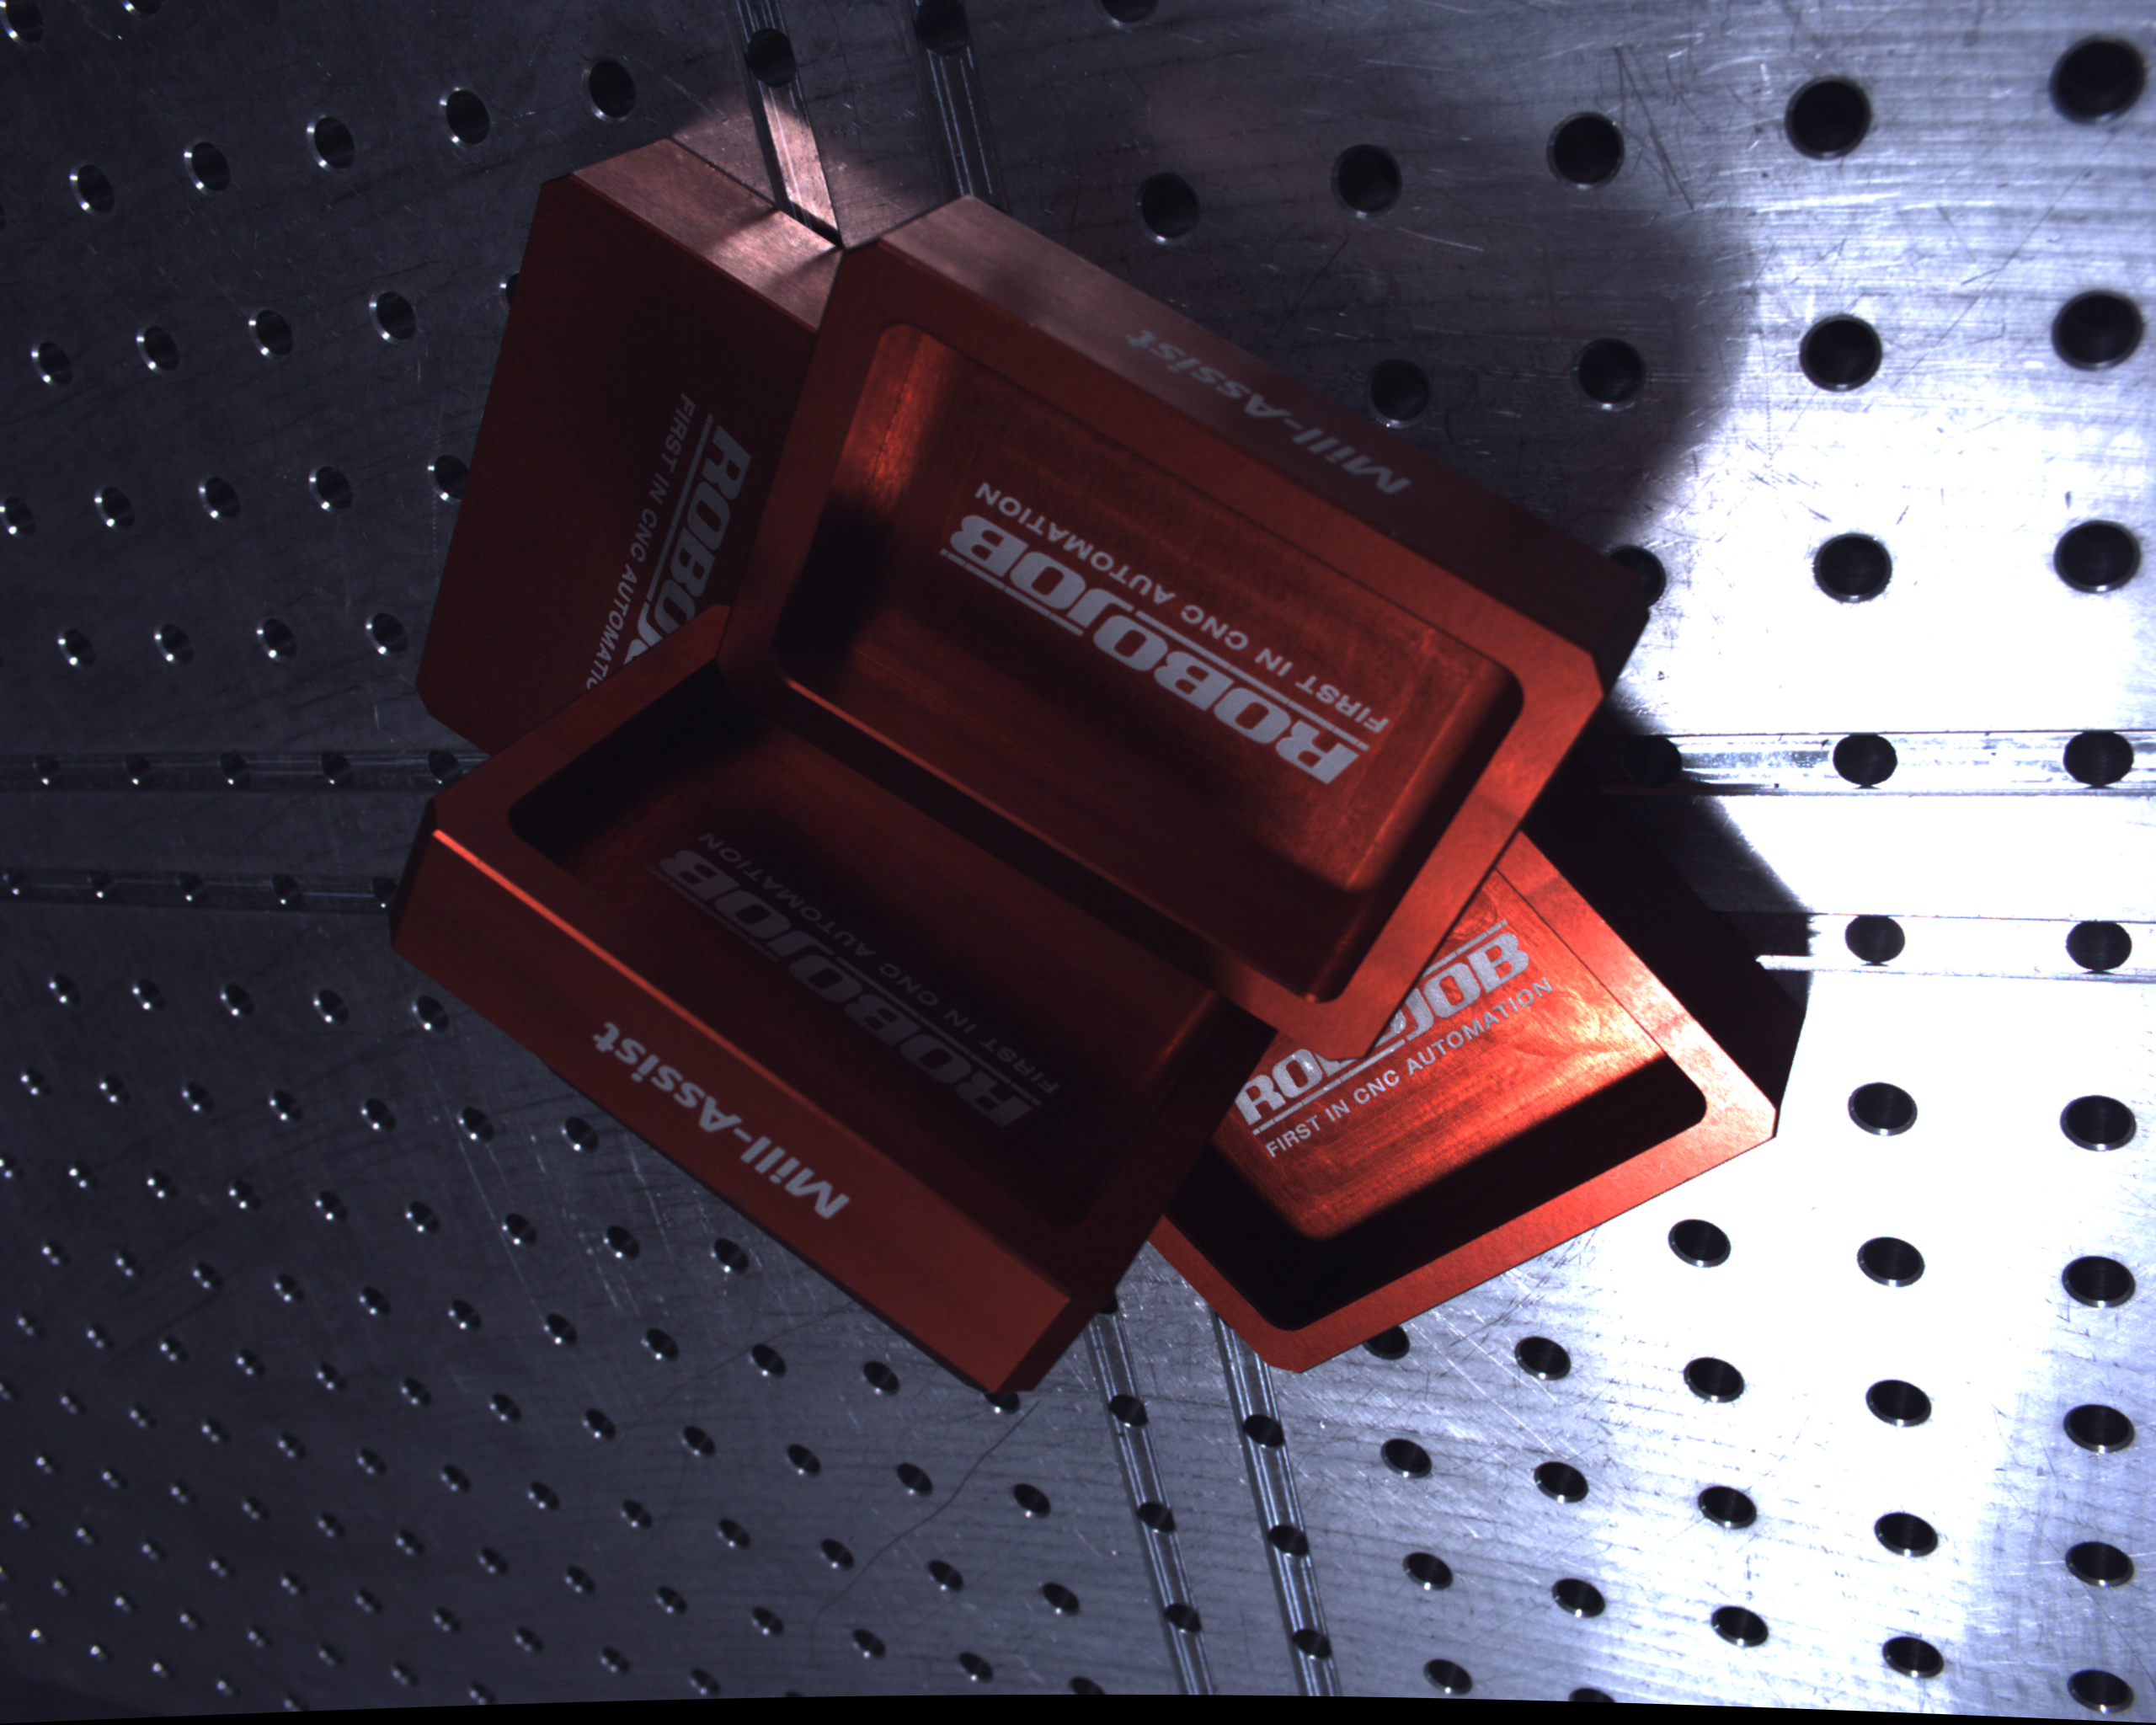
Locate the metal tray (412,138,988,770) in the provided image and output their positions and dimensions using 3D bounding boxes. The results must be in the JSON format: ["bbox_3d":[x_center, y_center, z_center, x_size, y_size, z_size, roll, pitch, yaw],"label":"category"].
[{"bbox_3d":[-0.073,-0.060,0.407,0.090,0.030,0.129,33,129,5],"label":"metal tray"}]

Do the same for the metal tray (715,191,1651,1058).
[{"bbox_3d":[0.012,-0.037,0.338,0.130,0.030,0.089,31,128,7],"label":"metal tray"}]

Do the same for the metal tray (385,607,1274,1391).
[{"bbox_3d":[-0.038,0.018,0.359,0.130,0.090,0.030,35,129,4],"label":"metal tray"}]

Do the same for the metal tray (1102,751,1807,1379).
[{"bbox_3d":[0.057,0.038,0.398,0.090,0.030,0.129,47,129,-6],"label":"metal tray"}]

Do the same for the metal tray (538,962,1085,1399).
[{"bbox_3d":[-0.056,0.058,0.447,0.130,0.030,0.090,36,154,3],"label":"metal tray"}]
